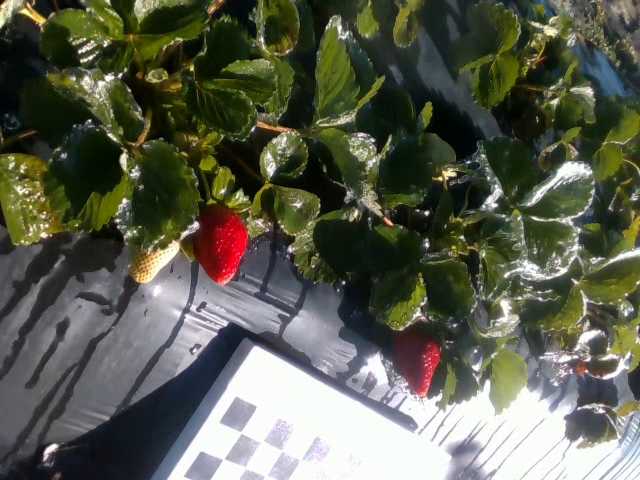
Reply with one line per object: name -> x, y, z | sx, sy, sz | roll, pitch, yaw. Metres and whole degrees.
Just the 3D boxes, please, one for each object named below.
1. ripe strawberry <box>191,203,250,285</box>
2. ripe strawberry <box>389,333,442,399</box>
ripe strawberry -> -0.072, 0.010, 0.417 | 0.042, 0.061, 0.046 | 20, -38, -33
ripe strawberry -> 0.091, 0.115, 0.538 | 0.048, 0.061, 0.044 | 29, -33, -34
